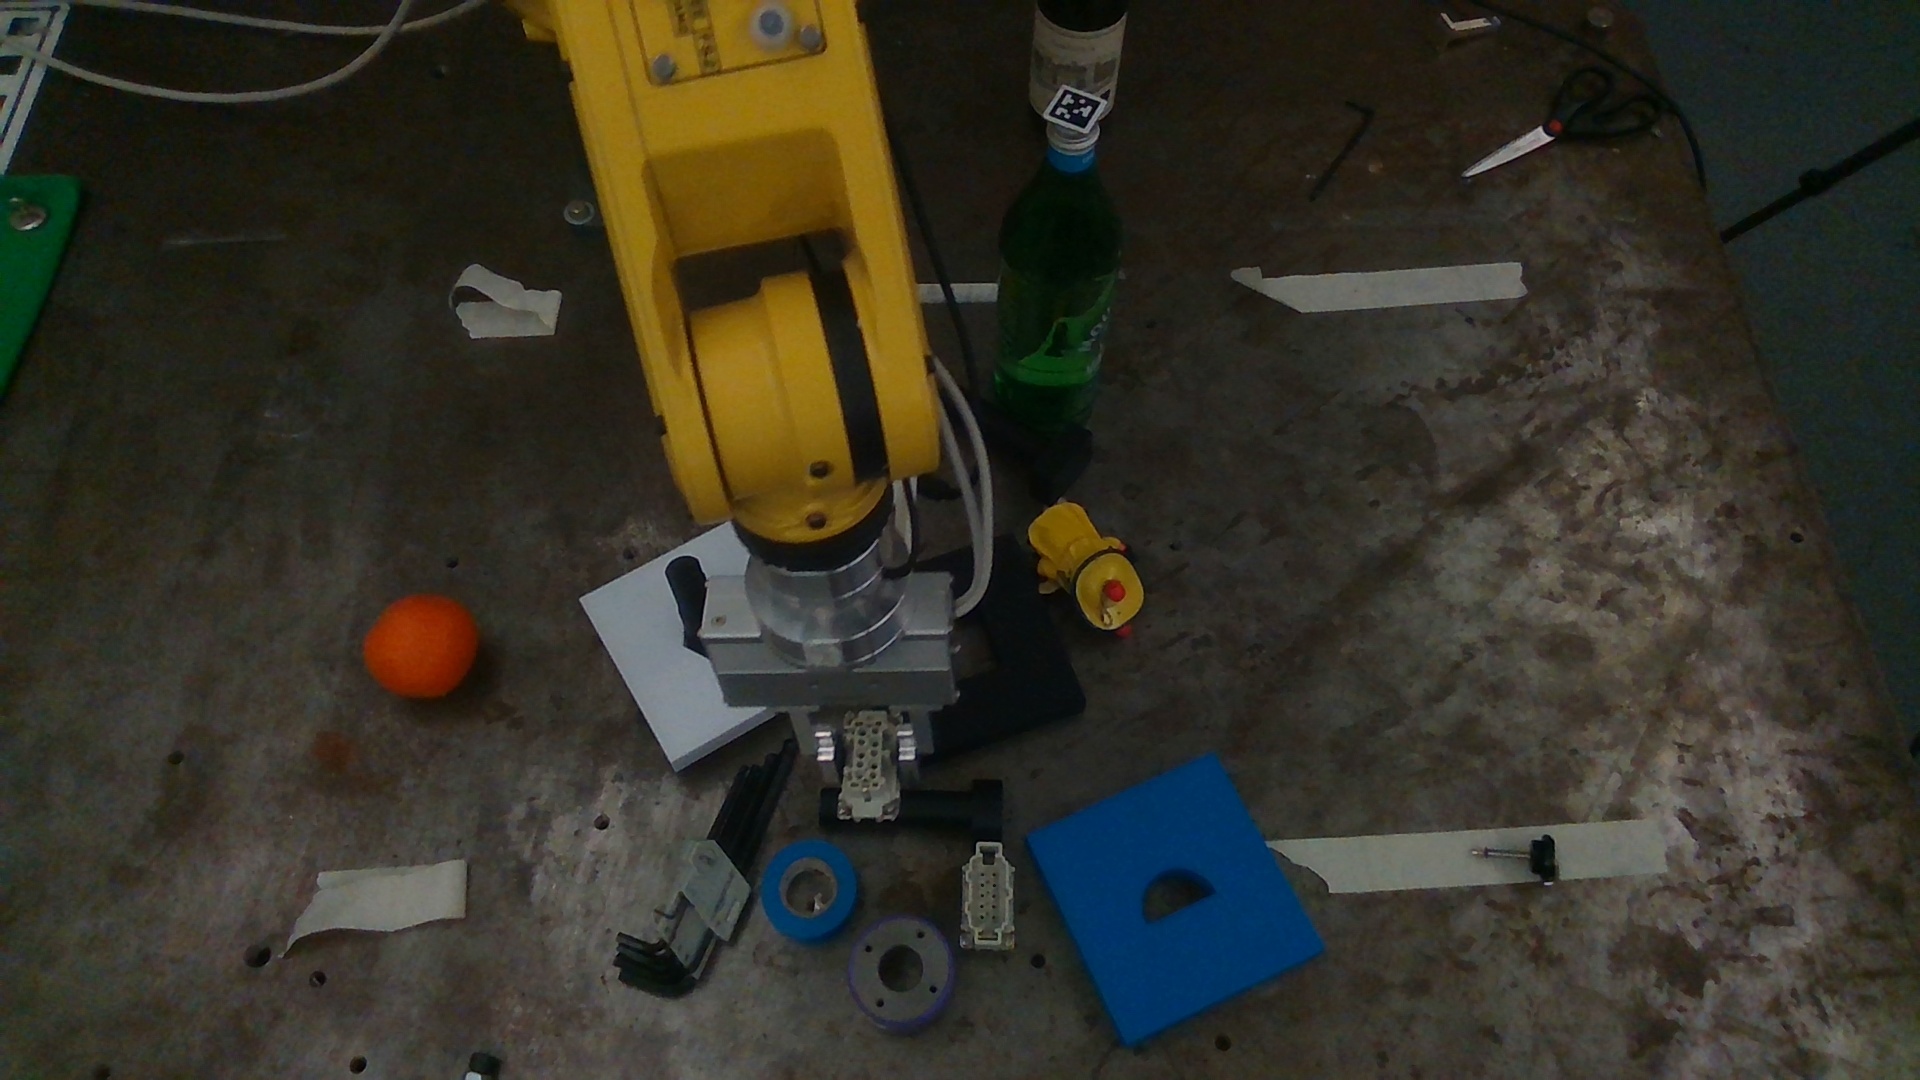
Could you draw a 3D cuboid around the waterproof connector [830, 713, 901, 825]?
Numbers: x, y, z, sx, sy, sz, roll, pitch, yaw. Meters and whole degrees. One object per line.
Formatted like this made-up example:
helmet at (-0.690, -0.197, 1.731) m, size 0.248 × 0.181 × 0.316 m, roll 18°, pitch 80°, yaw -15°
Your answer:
waterproof connector at (-0.056, 0.134, 0.819) m, size 0.037 × 0.038 × 0.069 m, roll -6°, pitch 52°, yaw 10°
